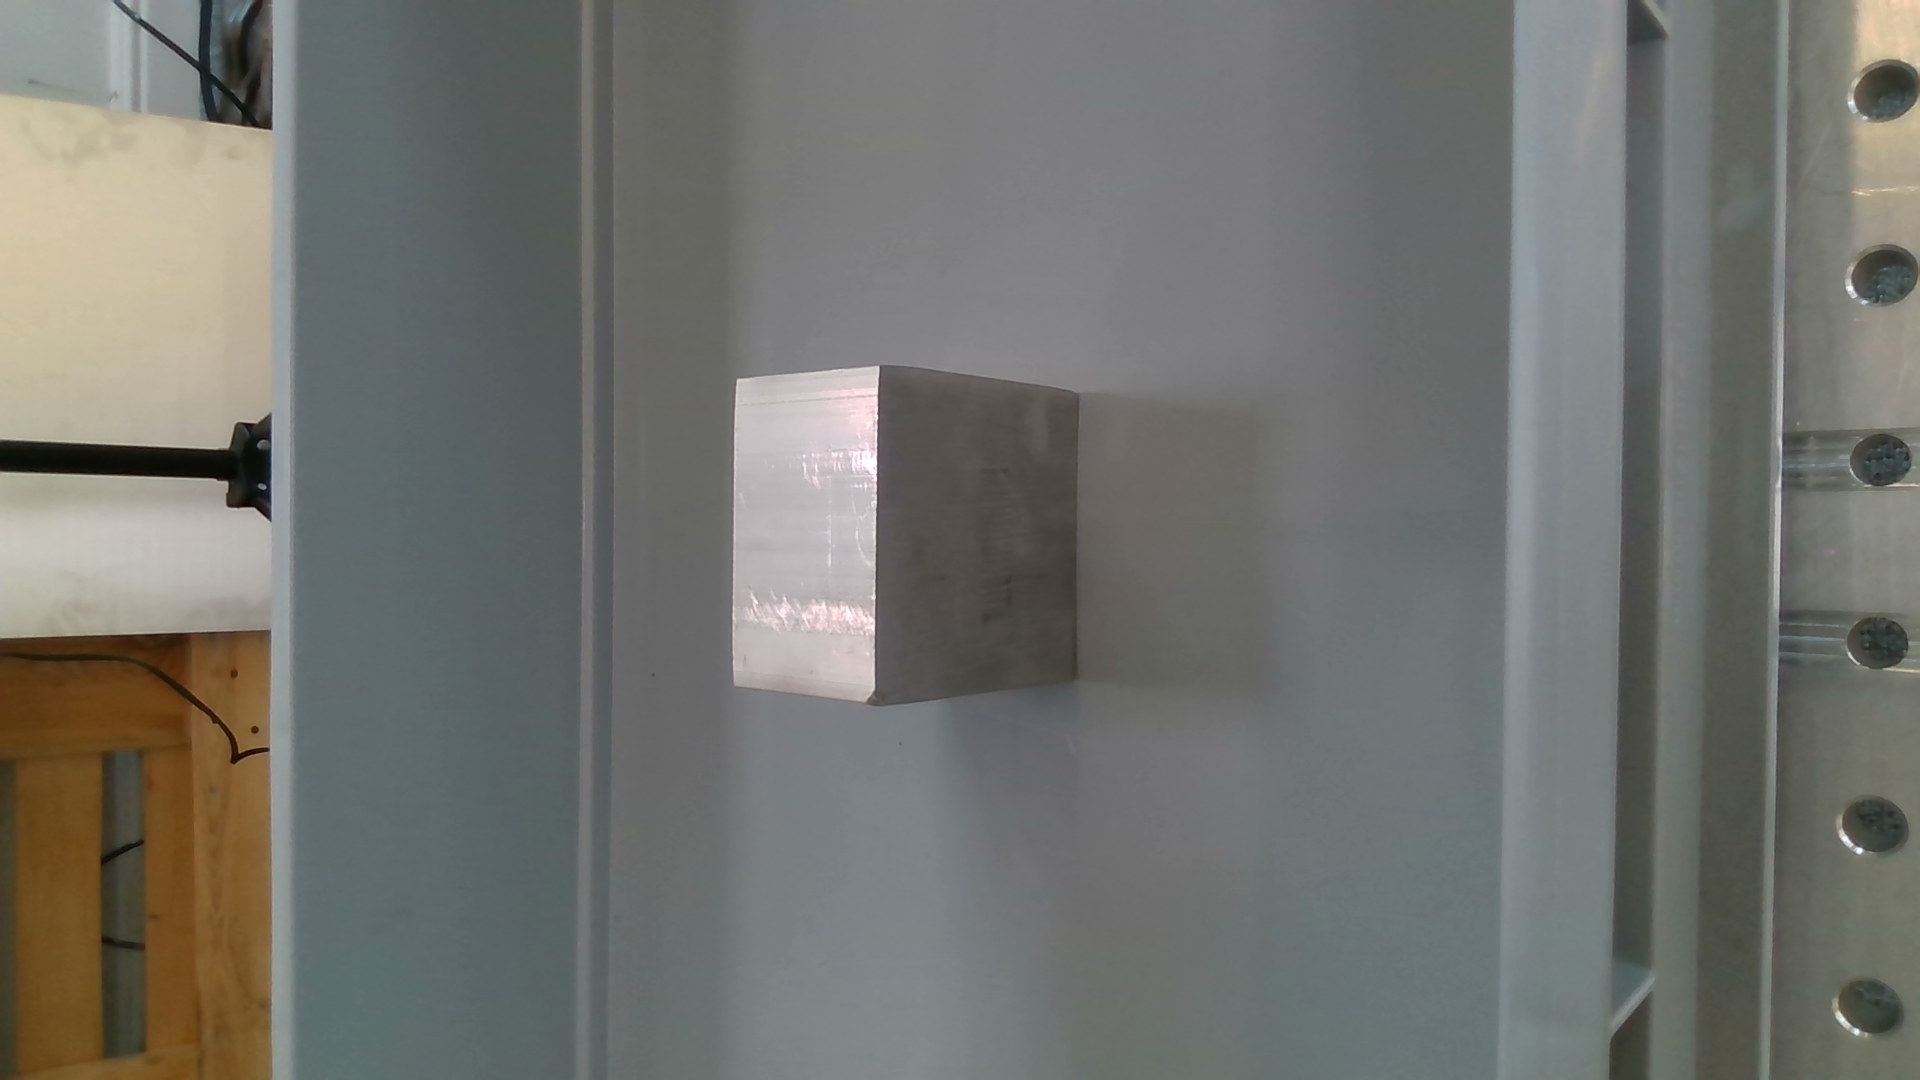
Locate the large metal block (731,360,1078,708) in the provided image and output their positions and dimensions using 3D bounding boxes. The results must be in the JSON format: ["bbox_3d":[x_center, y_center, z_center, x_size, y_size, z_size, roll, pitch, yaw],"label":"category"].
[{"bbox_3d":[-0.013,-0.002,0.363,0.050,0.080,0.080,2,92,40],"label":"large metal block"}]
